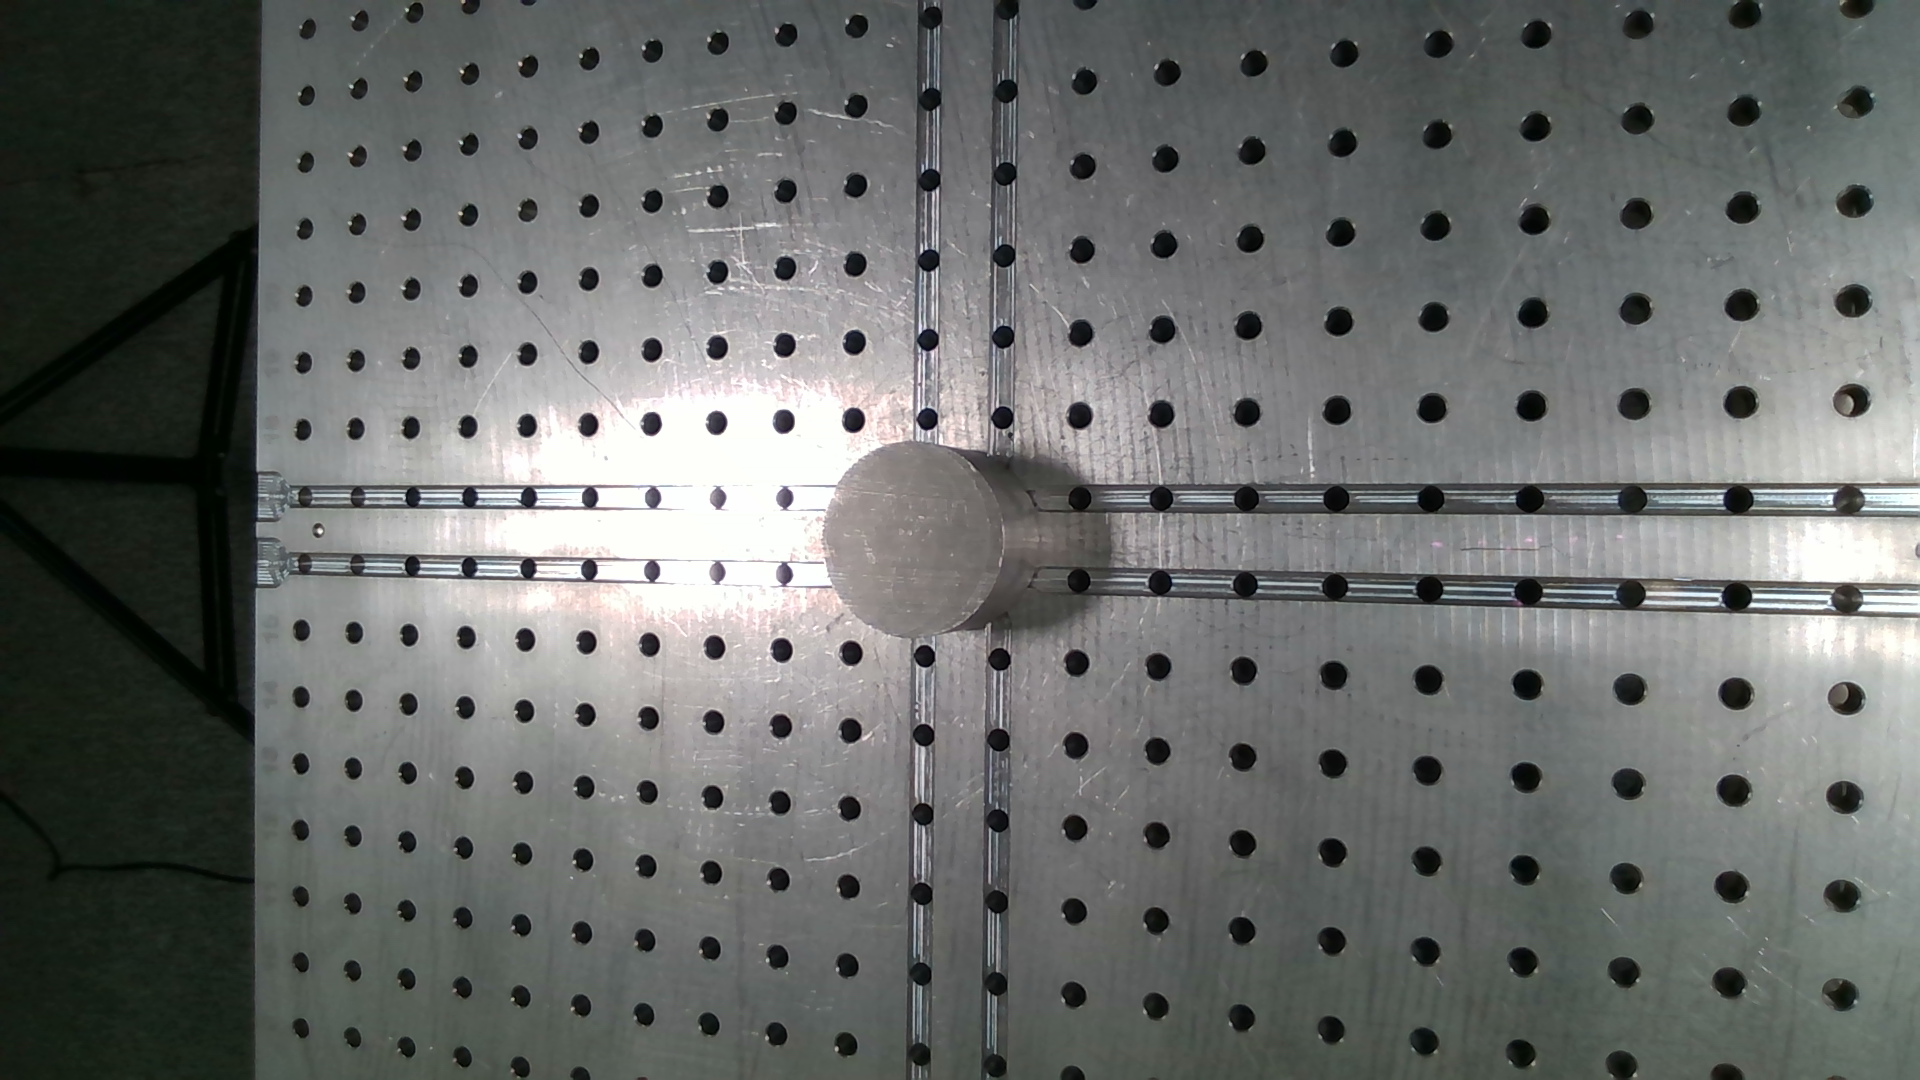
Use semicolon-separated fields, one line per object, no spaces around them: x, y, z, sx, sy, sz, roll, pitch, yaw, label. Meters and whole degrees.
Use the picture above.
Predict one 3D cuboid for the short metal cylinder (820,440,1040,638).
-0.012;0.000;0.579;0.080;0.050;0.080;0;90;20;short metal cylinder
